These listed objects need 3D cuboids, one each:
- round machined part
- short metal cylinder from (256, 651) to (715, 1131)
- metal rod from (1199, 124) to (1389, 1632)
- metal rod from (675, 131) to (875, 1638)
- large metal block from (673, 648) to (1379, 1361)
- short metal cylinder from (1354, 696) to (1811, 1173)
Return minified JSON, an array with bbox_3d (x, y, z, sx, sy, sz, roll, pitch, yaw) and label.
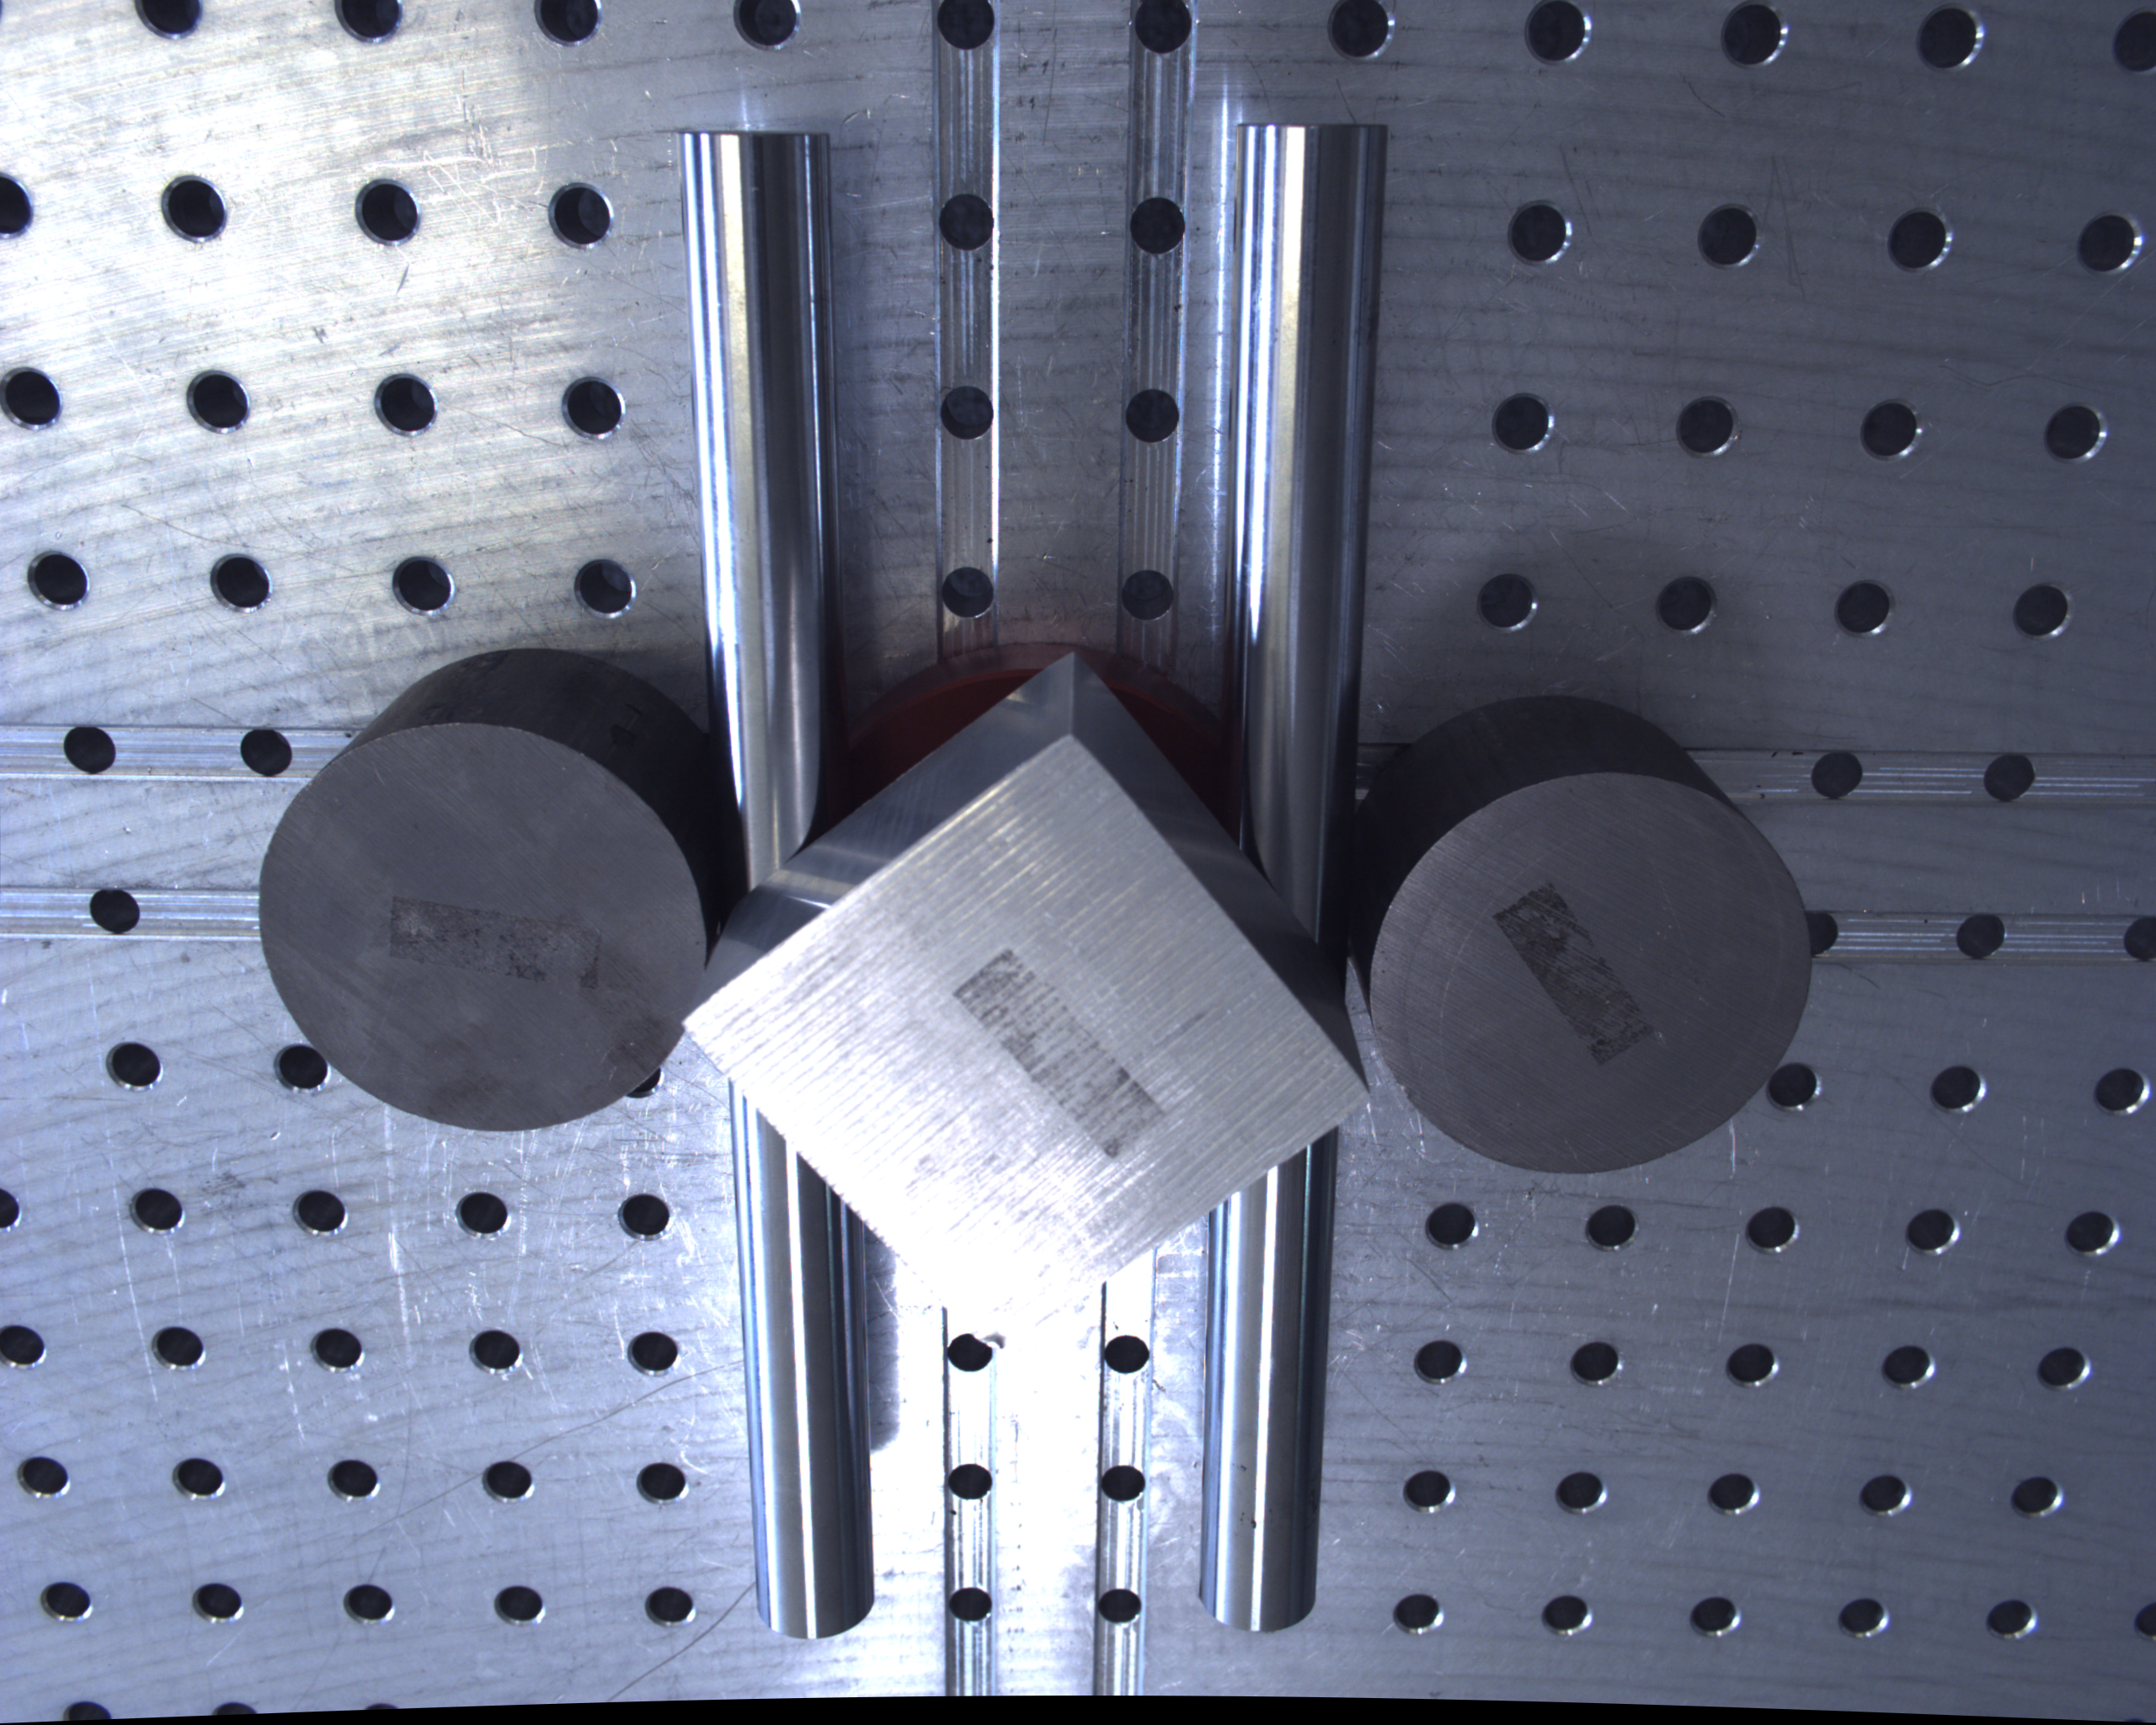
[{"bbox_3d":[-0.008,0.009,0.408,0.099,0.042,0.097,0,110,0],"label":"round machined part"},{"bbox_3d":[-0.108,0.004,0.400,0.081,0.050,0.079,0,110,0],"label":"short metal cylinder"},{"bbox_3d":[0.039,0.017,0.398,0.025,0.025,0.298,0,110,0],"label":"metal rod"},{"bbox_3d":[-0.055,0.019,0.397,0.025,0.025,0.298,0,110,0],"label":"metal rod"},{"bbox_3d":[-0.008,0.024,0.358,0.080,0.050,0.080,-36,106,12],"label":"large metal block"},{"bbox_3d":[0.094,0.013,0.405,0.081,0.050,0.079,0,110,0],"label":"short metal cylinder"}]
